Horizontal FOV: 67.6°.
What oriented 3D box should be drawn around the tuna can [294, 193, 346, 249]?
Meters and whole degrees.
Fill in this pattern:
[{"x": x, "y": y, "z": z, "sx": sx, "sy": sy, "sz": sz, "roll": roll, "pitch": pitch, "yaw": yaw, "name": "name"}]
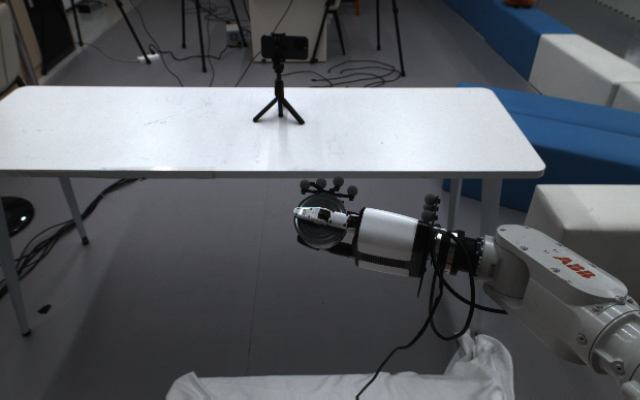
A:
[{"x": 0.003, "y": 0.031, "z": 0.772, "sx": 0.085, "sy": 0.034, "sz": 0.085, "roll": -3, "pitch": 69, "yaw": 7, "name": "tuna can"}]
